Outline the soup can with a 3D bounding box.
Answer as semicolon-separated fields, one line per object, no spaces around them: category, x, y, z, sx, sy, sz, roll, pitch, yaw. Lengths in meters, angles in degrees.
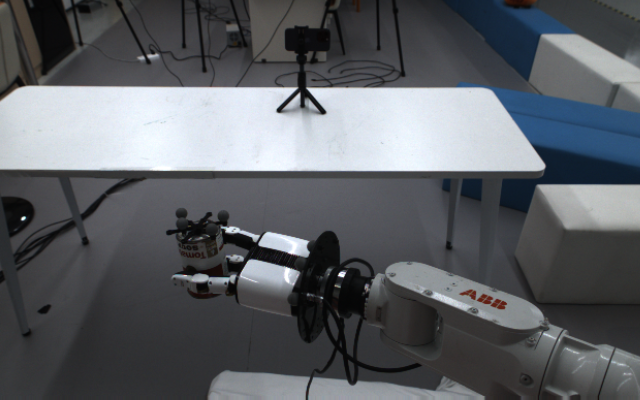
soup can;-0.175;0.092;0.736;0.067;0.101;0.067;-4;26;2
